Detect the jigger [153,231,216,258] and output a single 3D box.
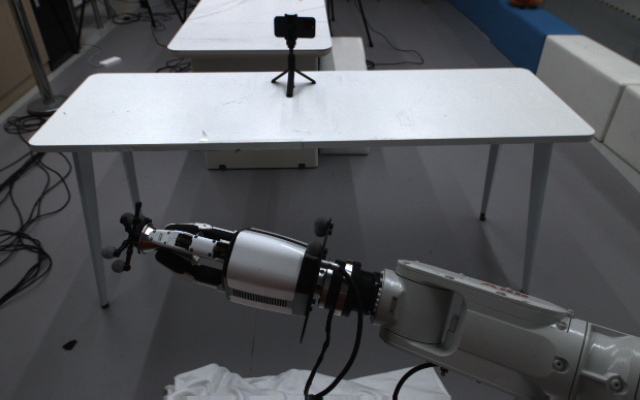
[{"bbox_3d":[-0.178,0.051,0.607,0.071,0.043,0.043,10,35,2],"label":"jigger"}]
